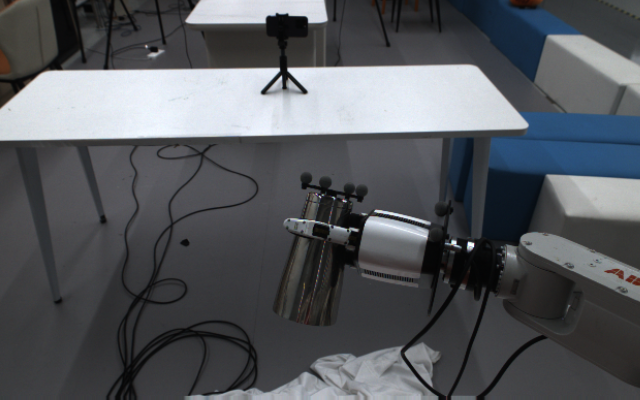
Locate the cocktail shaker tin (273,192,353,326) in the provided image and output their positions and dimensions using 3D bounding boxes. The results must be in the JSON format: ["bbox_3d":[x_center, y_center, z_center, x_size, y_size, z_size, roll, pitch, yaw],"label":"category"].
[{"bbox_3d":[0.000,0.076,0.679,0.093,0.170,0.093,13,1,0],"label":"cocktail shaker tin"}]
